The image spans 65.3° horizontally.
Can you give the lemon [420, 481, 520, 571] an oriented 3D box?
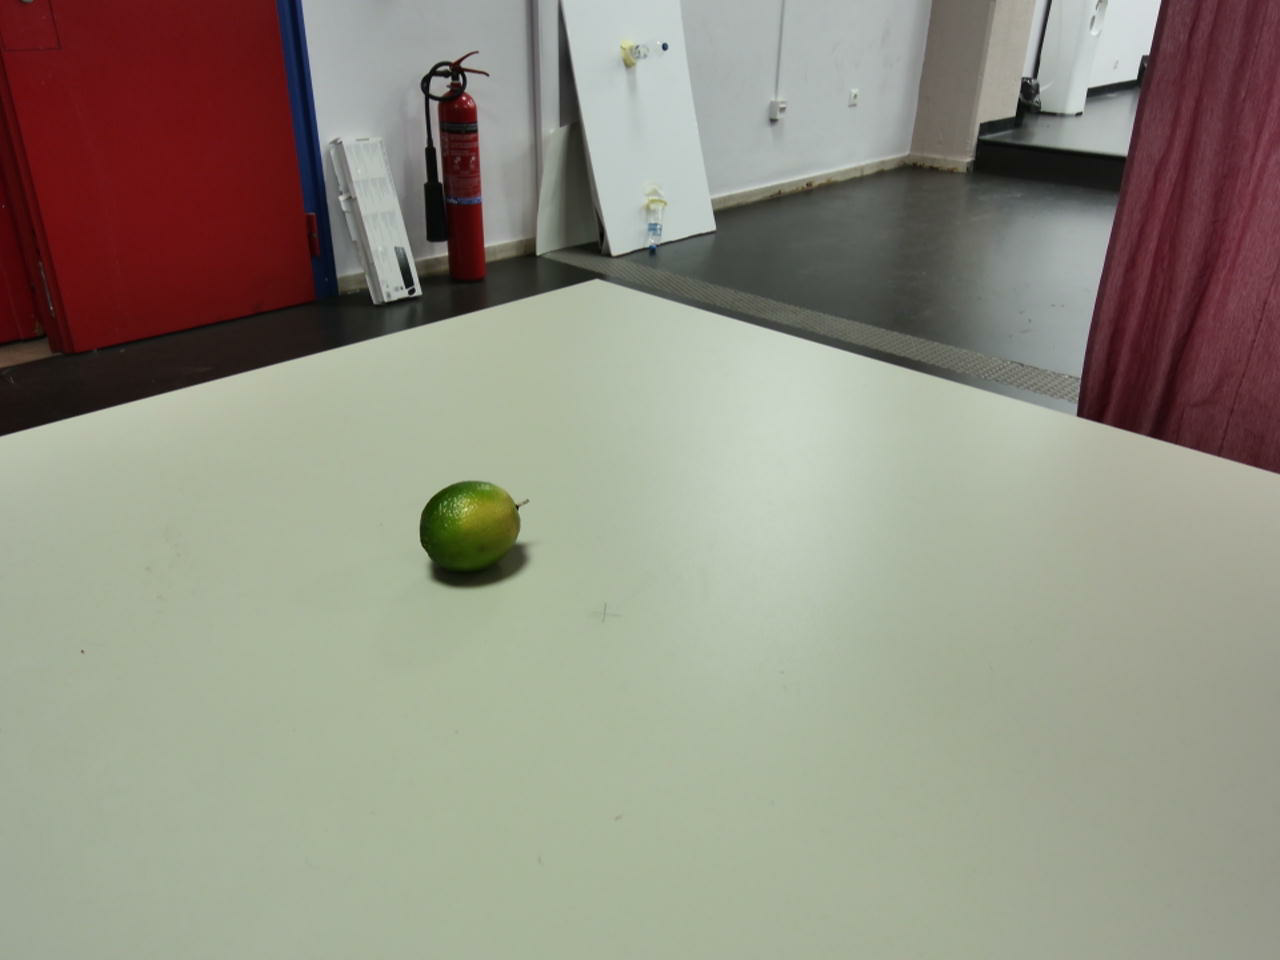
[{"bbox_3d":[-0.096,0.026,0.566,0.055,0.050,0.054,2,25,2],"label":"lemon"}]
